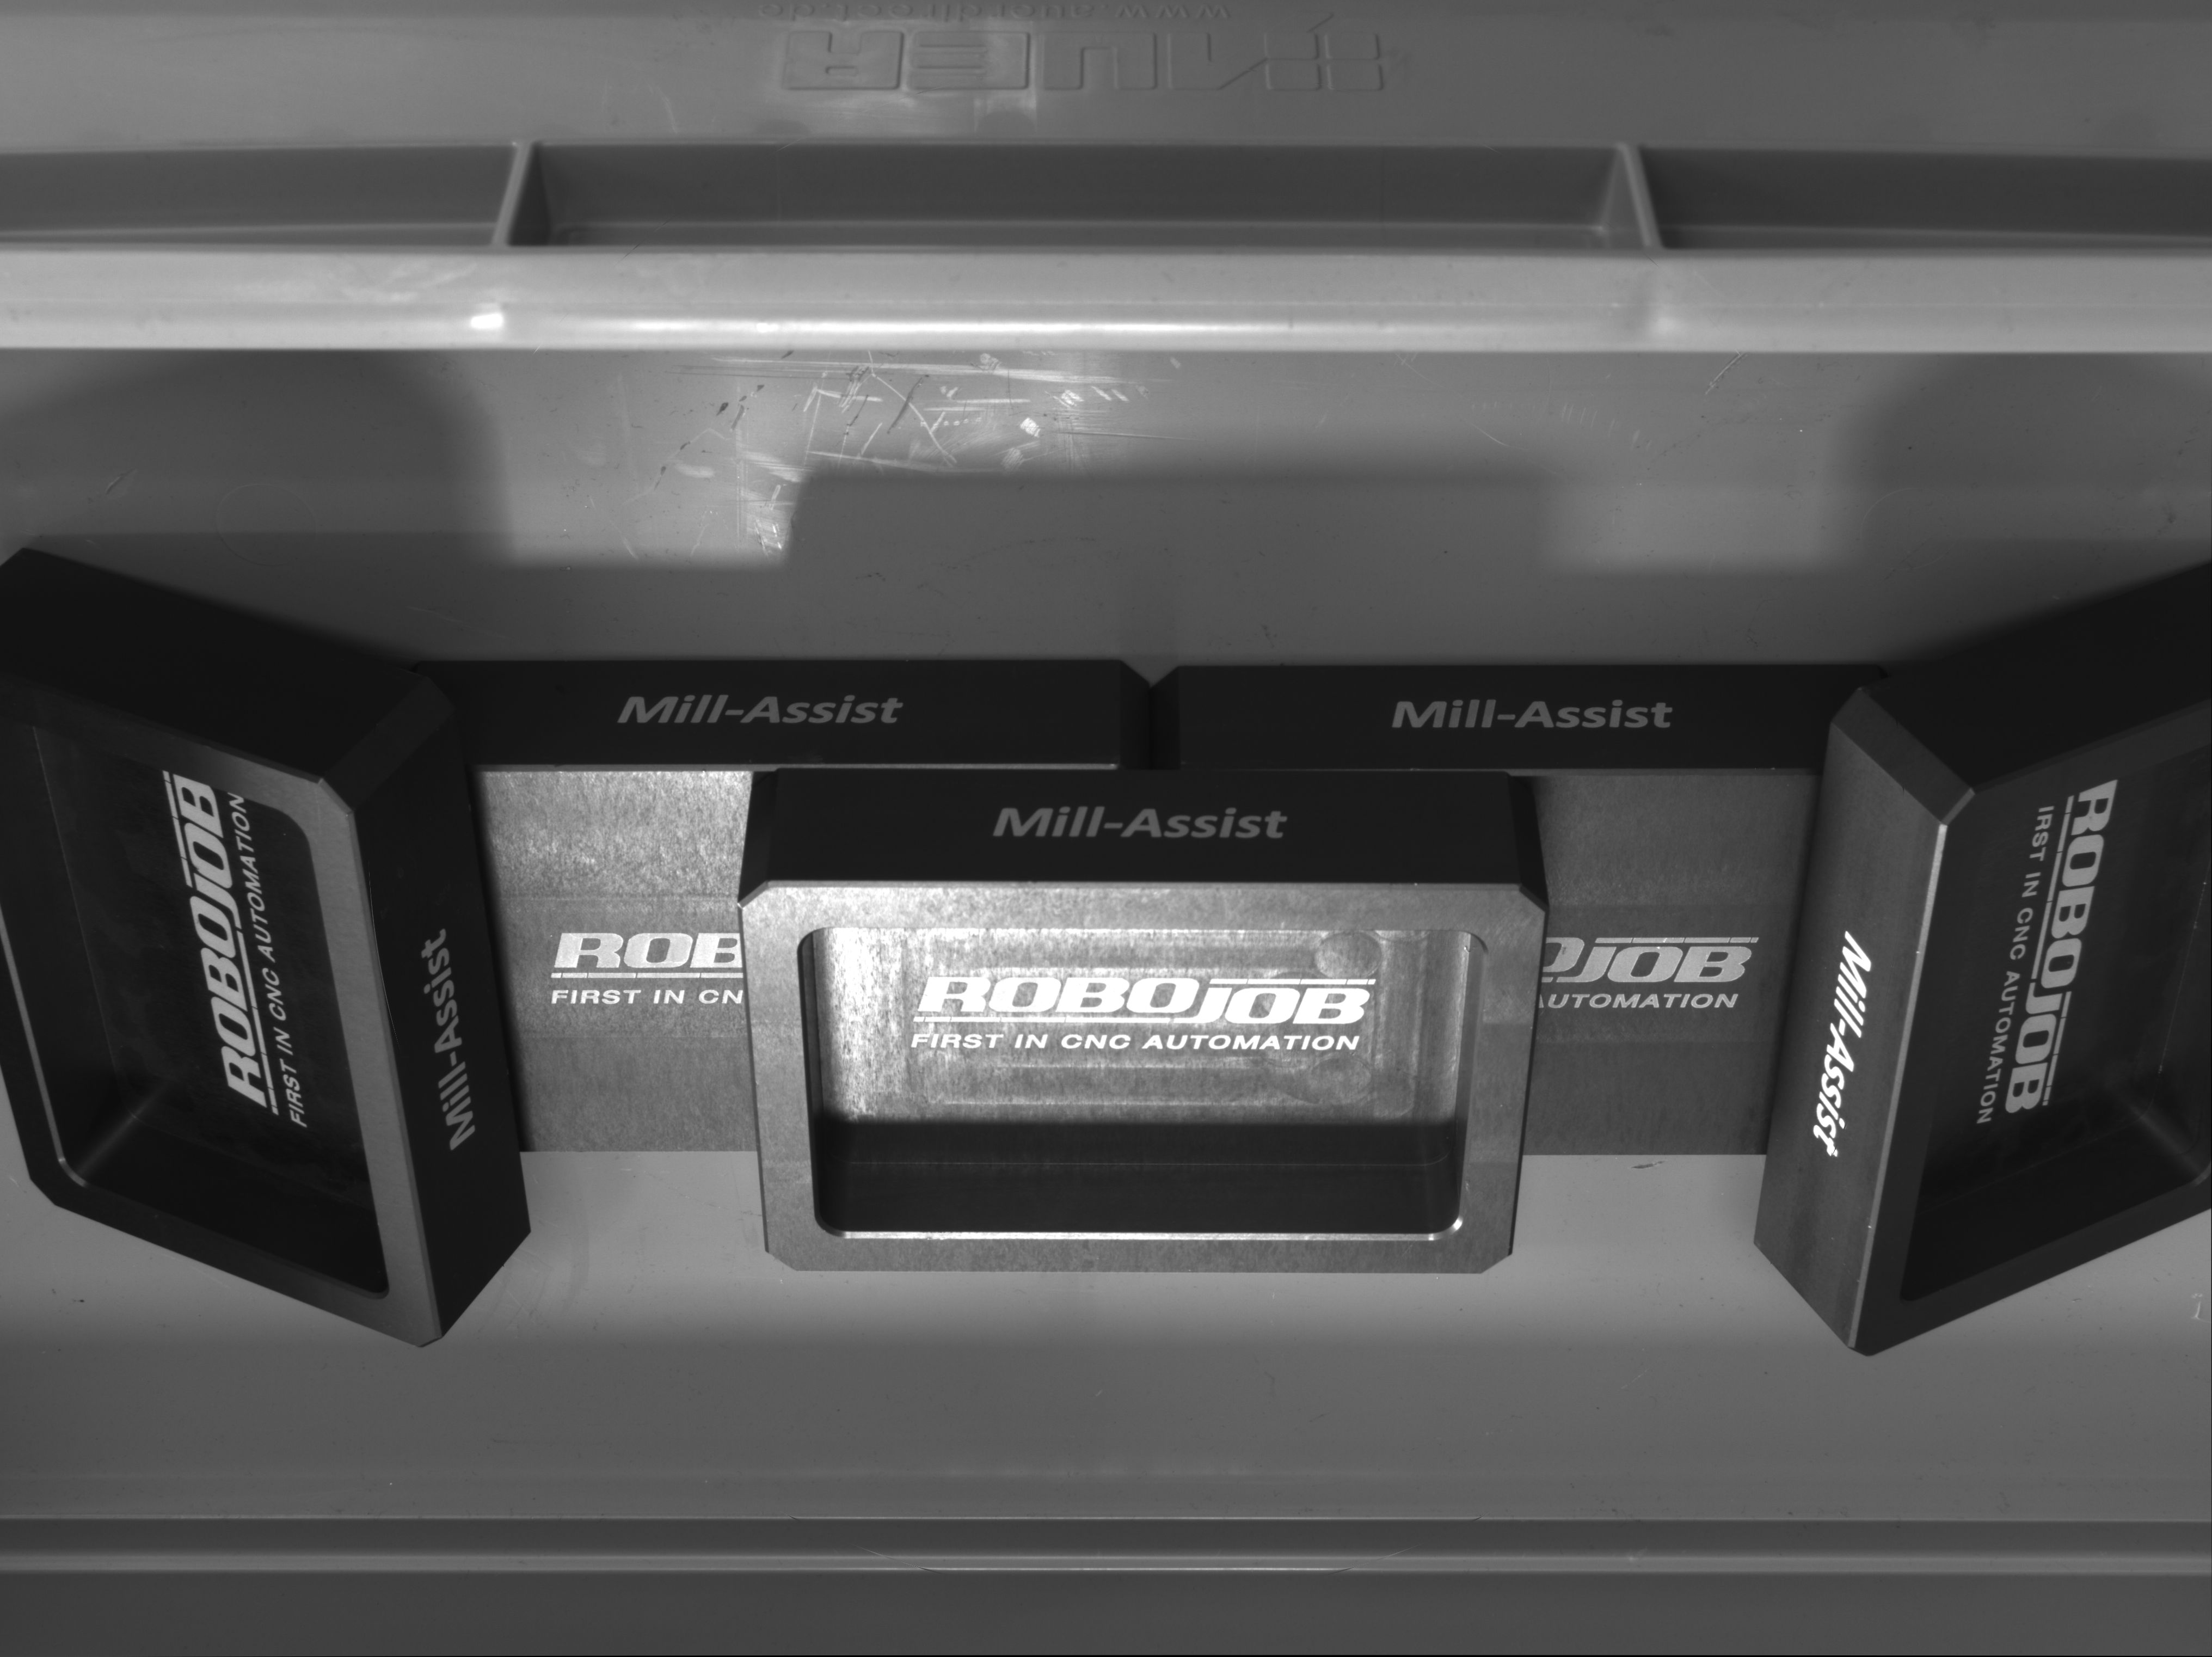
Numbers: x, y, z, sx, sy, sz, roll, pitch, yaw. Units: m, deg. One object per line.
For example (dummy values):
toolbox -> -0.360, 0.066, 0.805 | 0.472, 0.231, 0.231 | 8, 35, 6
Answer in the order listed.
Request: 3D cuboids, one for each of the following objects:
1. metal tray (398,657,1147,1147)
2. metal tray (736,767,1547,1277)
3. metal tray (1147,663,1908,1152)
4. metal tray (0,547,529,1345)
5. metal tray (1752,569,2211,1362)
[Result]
metal tray -> -0.058, 0.014, 0.647 | 0.130, 0.030, 0.090 | 0, 130, 0
metal tray -> 0.006, 0.034, 0.623 | 0.130, 0.030, 0.090 | 0, 129, 0
metal tray -> 0.072, 0.015, 0.648 | 0.130, 0.030, 0.090 | 0, 130, 0
metal tray -> -0.151, 0.022, 0.629 | 0.090, 0.030, 0.130 | 17, 133, 19
metal tray -> 0.163, 0.024, 0.630 | 0.090, 0.030, 0.130 | -19, 133, -21
